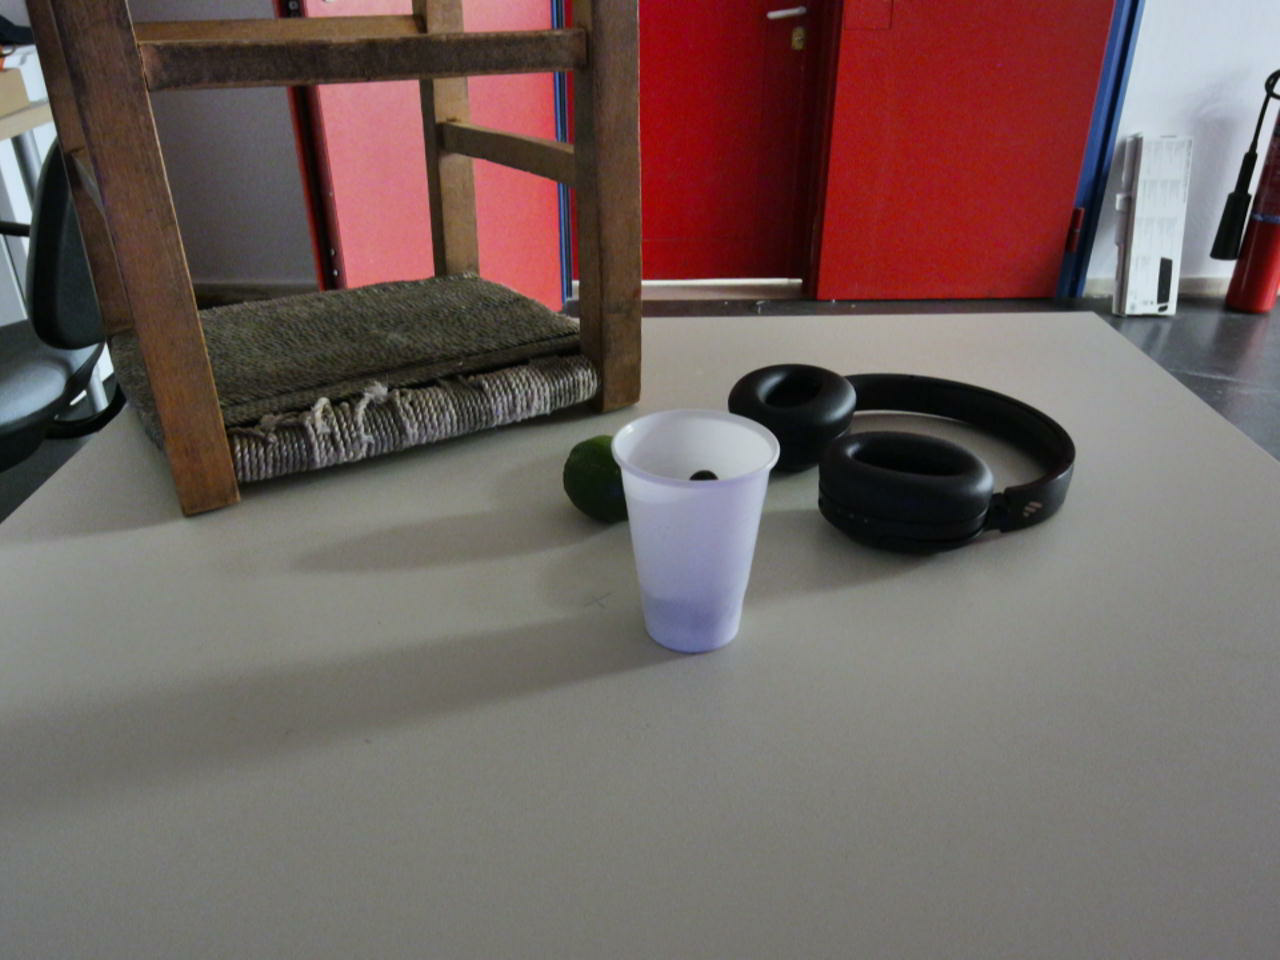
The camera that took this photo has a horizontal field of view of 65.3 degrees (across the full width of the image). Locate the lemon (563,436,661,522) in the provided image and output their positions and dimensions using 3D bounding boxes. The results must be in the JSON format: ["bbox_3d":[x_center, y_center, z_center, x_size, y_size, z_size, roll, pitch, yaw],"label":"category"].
[{"bbox_3d":[-0.018,-0.001,0.604,0.057,0.051,0.054,-3,27,-4],"label":"lemon"}]
